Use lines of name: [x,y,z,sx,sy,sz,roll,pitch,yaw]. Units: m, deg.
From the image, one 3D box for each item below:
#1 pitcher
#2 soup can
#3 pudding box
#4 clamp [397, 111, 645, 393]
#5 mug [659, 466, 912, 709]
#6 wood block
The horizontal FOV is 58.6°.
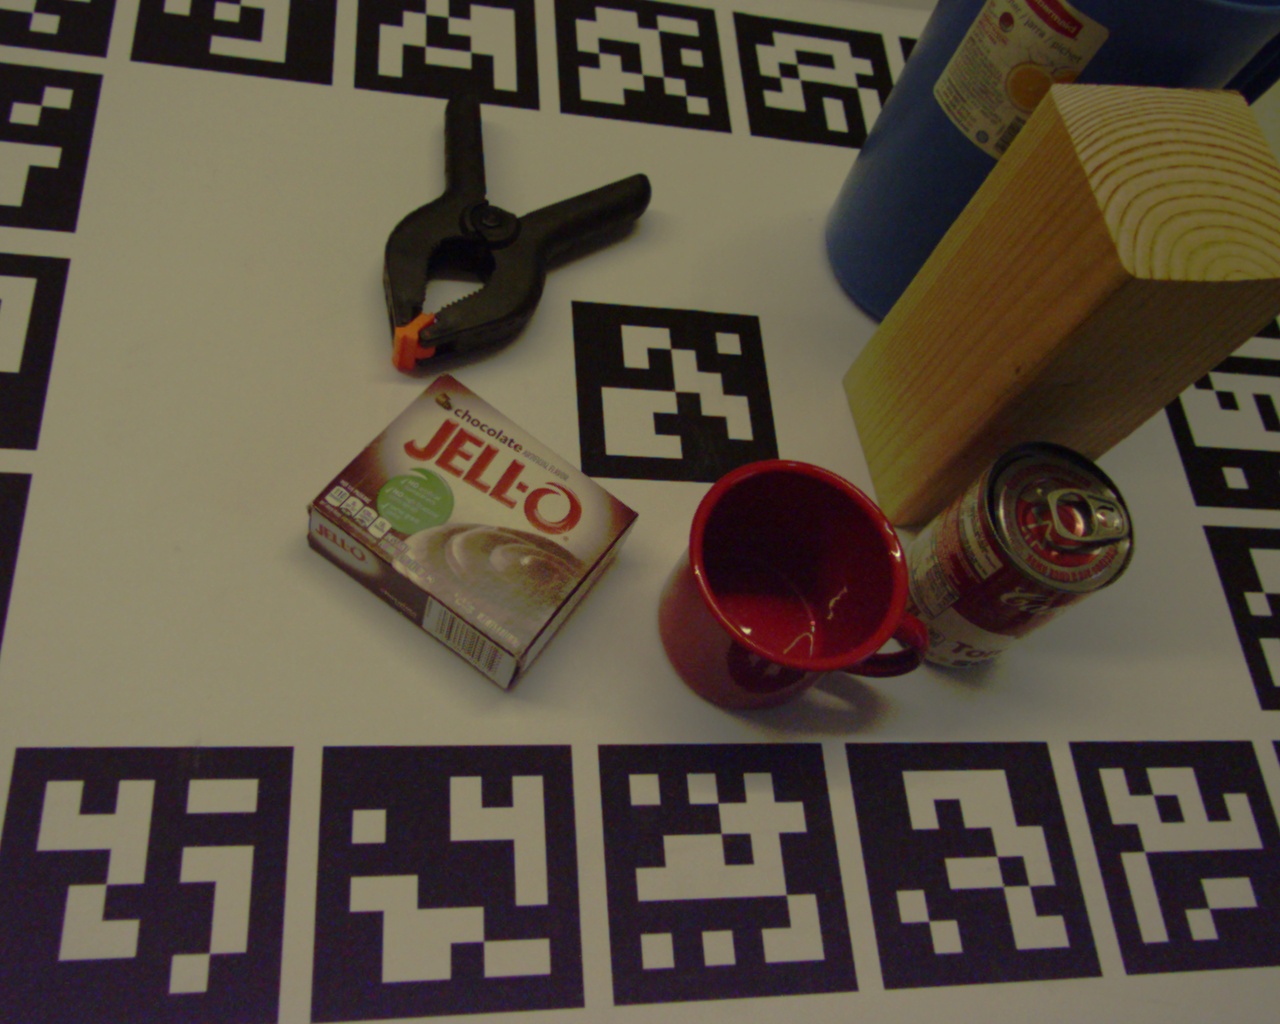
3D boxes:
pitcher: [0.192,-0.195,0.578,0.188,0.243,0.134,-1,62,-12]
soup can: [0.157,0.024,0.536,0.067,0.102,0.068,5,65,-12]
pudding box: [-0.081,0.011,0.525,0.114,0.039,0.089,34,64,5]
clamp: [-0.078,-0.131,0.605,0.121,0.037,0.164,30,61,-6]
mug: [0.066,0.046,0.516,0.117,0.082,0.093,32,58,5]
wood block: [0.177,-0.079,0.533,0.089,0.207,0.091,0,64,-19]
